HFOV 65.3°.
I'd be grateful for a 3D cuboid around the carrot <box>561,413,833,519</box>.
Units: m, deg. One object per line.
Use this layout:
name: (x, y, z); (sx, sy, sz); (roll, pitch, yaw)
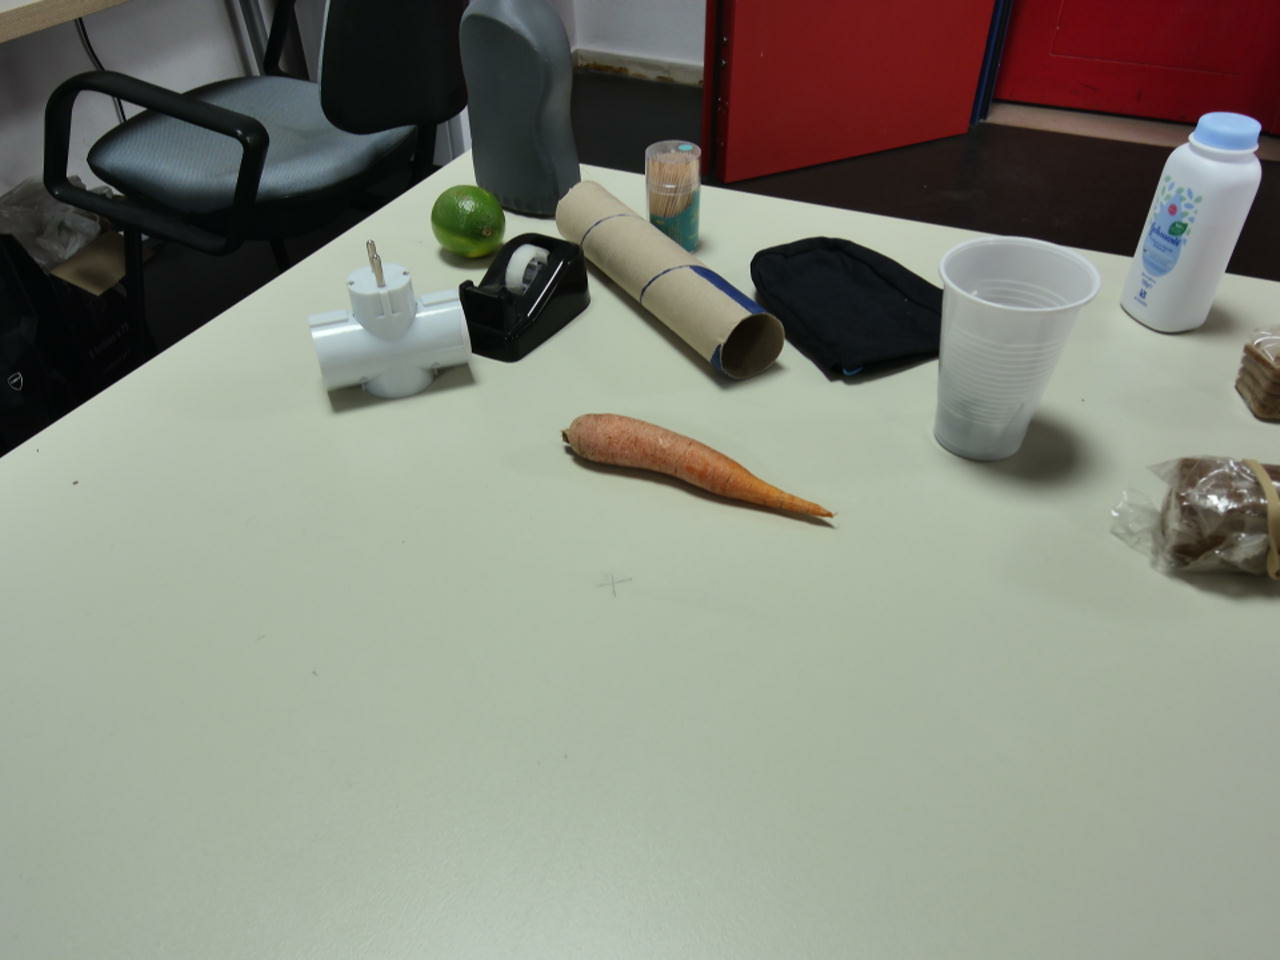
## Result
carrot: (0.029, -0.010, 0.548); (0.163, 0.029, 0.031); (16, 41, 20)
